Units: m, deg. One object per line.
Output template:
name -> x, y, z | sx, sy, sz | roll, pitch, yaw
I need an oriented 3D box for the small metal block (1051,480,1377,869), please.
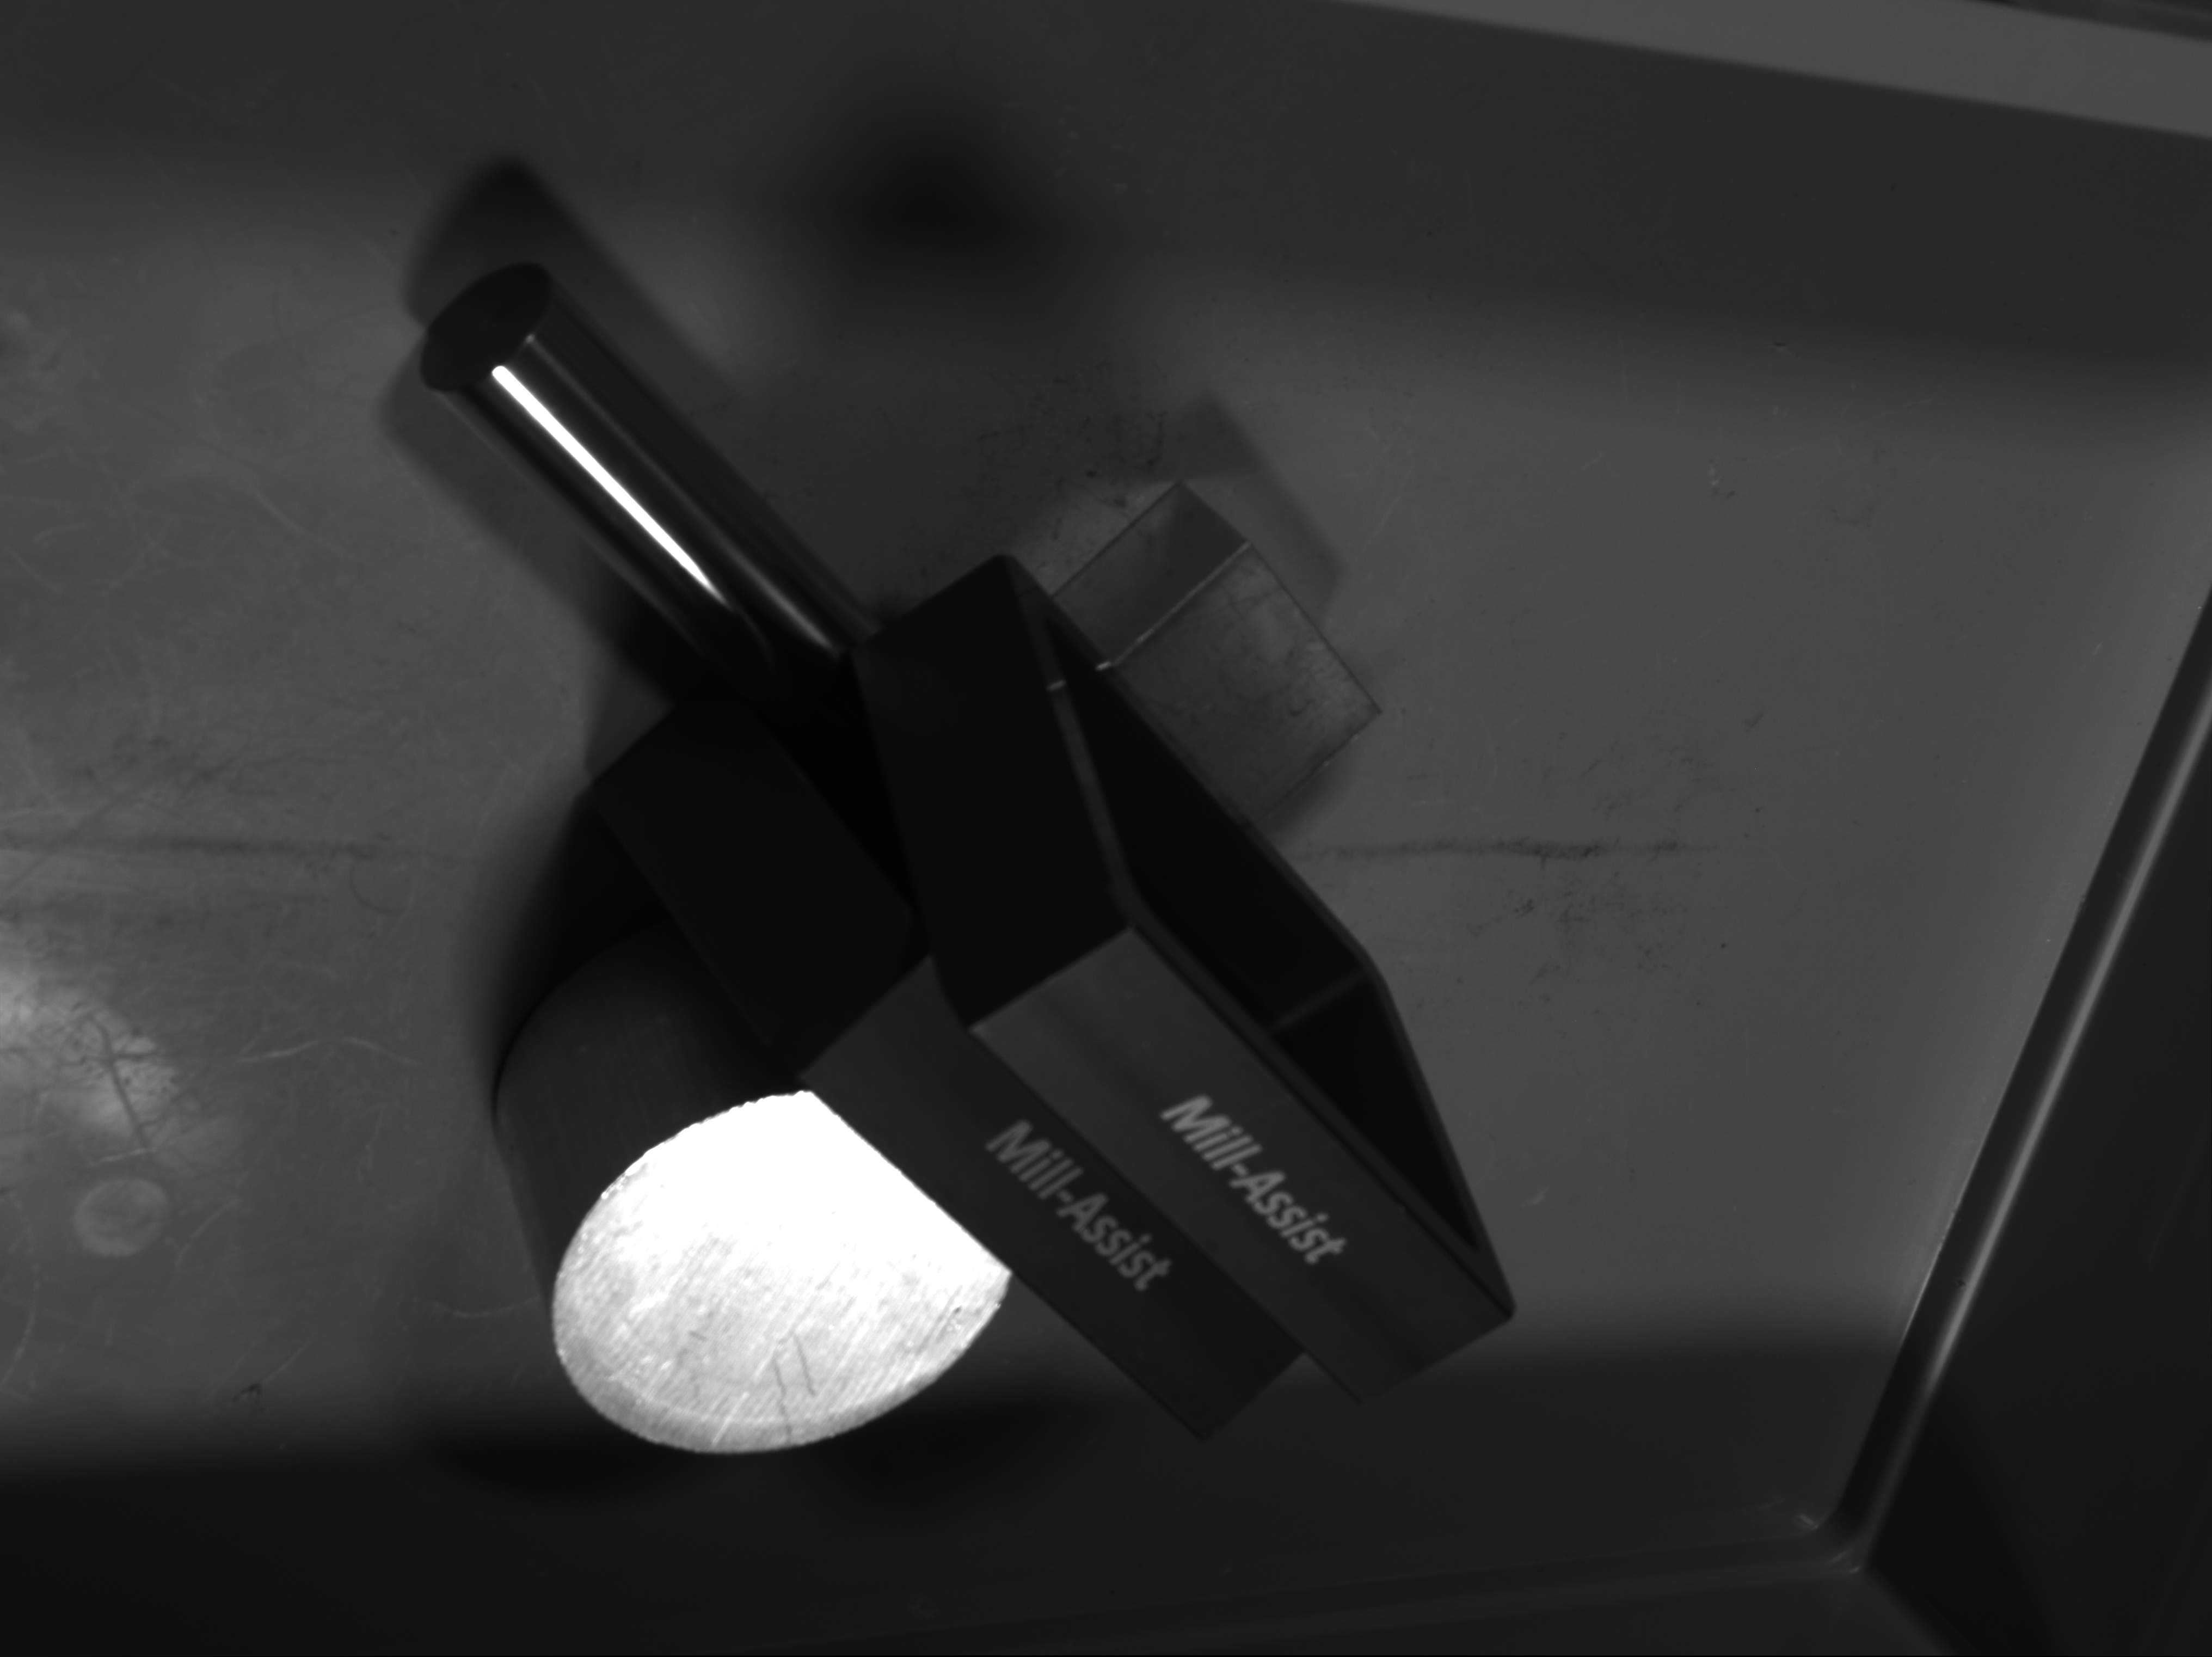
small metal block -> 0.011, -0.024, 0.641 | 0.050, 0.025, 0.050 | -42, 130, -1

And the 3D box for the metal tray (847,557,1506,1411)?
metal tray -> 0.012, 0.027, 0.597 | 0.030, 0.090, 0.130 | -32, 132, 13

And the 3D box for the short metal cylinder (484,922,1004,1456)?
short metal cylinder -> -0.062, 0.061, 0.627 | 0.080, 0.050, 0.080 | -12, 129, -15

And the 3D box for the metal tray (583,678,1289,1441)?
metal tray -> -0.025, 0.040, 0.617 | 0.030, 0.090, 0.130 | -43, 130, 0

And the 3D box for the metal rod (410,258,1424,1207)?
metal rod -> -0.016, 0.008, 0.646 | 0.025, 0.025, 0.301 | -43, 130, 0
